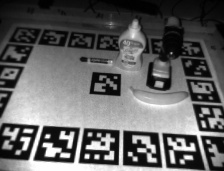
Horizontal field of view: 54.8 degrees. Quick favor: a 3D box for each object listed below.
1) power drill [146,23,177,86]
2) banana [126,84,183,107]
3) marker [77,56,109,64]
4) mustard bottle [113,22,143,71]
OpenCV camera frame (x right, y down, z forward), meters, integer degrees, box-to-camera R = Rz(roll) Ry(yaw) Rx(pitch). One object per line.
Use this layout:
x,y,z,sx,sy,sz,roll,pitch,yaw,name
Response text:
0.160,-0.089,0.708,0.057,0.187,0.184,16,49,6,power drill
0.140,0.038,0.728,0.197,0.039,0.074,10,53,4,banana
-0.073,-0.099,0.825,0.121,0.020,0.019,6,52,-1,marker
0.057,-0.137,0.757,0.096,0.192,0.058,13,52,5,mustard bottle
